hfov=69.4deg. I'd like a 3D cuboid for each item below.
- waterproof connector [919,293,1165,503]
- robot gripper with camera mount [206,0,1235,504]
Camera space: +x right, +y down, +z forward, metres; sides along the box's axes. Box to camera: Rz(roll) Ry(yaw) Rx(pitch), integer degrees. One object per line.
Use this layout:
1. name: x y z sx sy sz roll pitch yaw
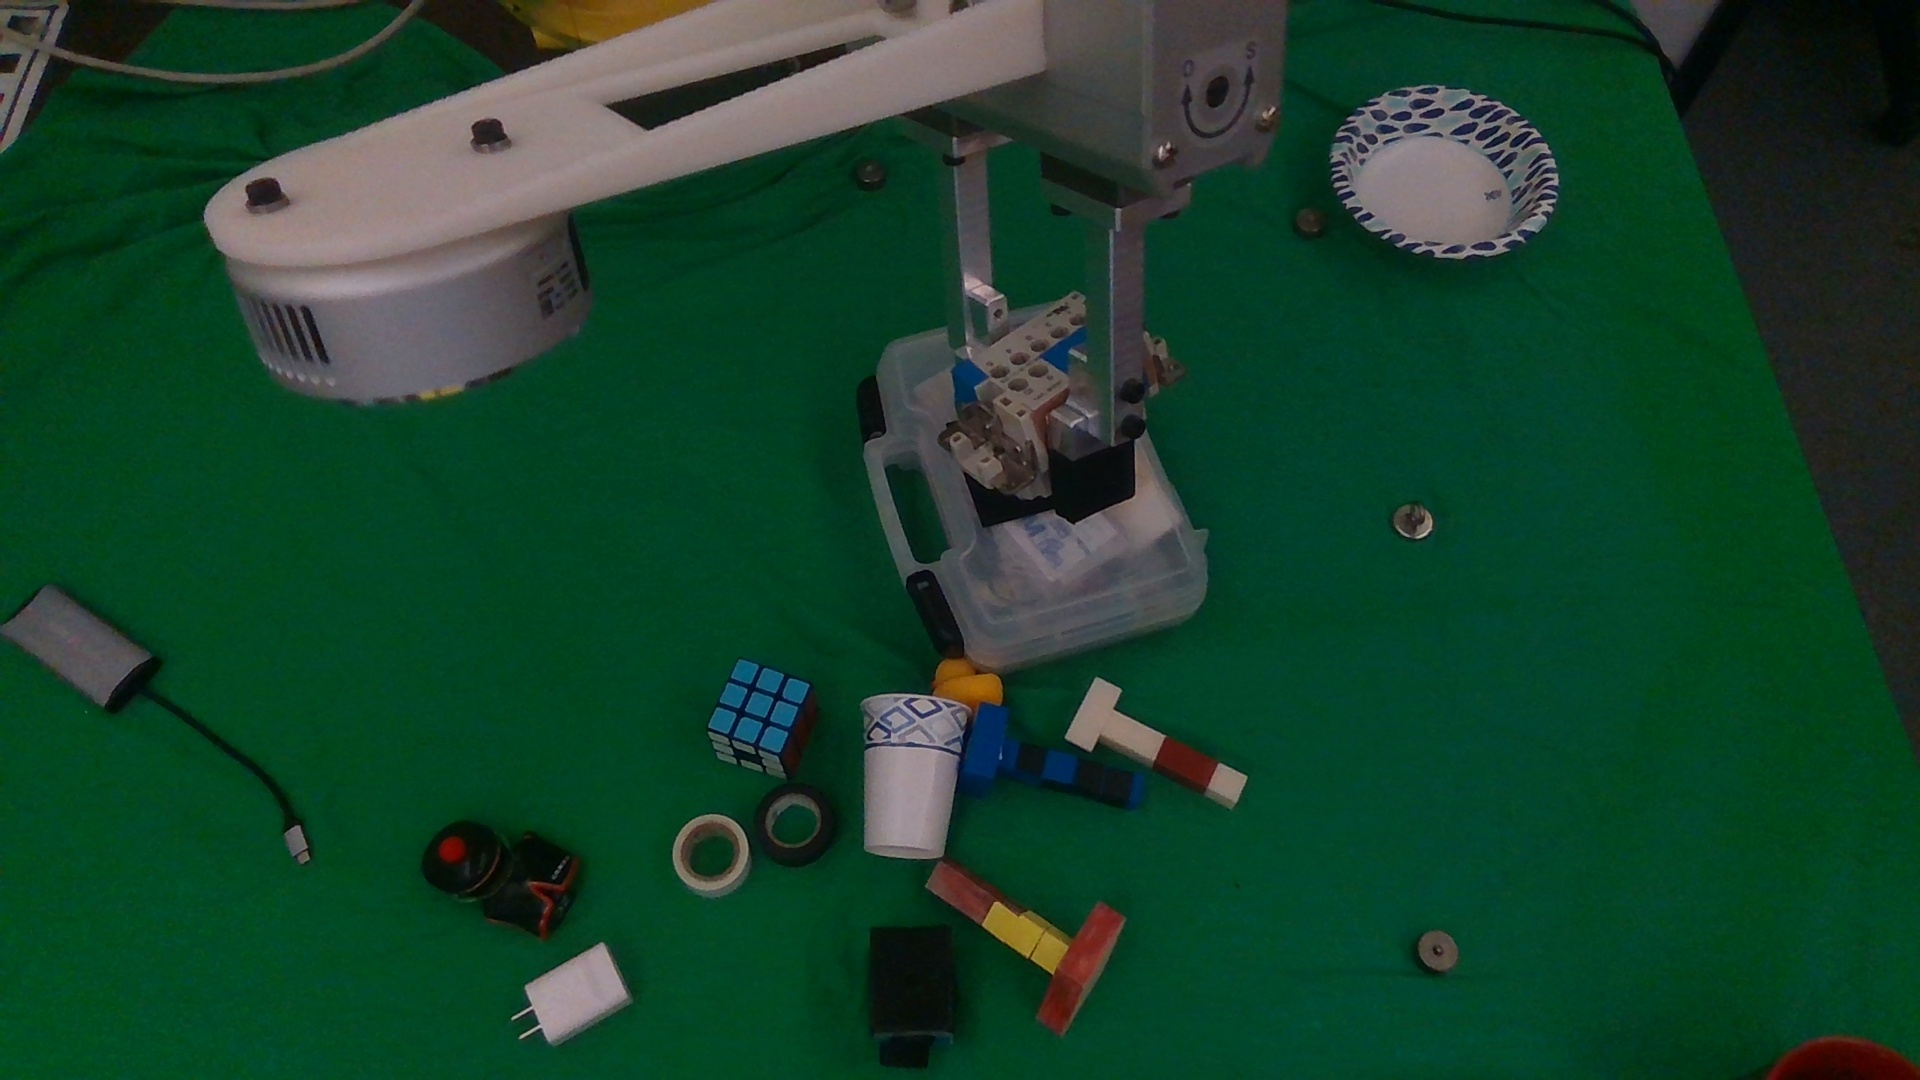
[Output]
1. waterproof connector: 0.022 -0.037 0.373 0.065 0.037 0.035 -37 44 -18
2. robot gripper with camera mount: -0.048 -0.050 0.306 0.193 0.158 0.119 -29 37 -23
